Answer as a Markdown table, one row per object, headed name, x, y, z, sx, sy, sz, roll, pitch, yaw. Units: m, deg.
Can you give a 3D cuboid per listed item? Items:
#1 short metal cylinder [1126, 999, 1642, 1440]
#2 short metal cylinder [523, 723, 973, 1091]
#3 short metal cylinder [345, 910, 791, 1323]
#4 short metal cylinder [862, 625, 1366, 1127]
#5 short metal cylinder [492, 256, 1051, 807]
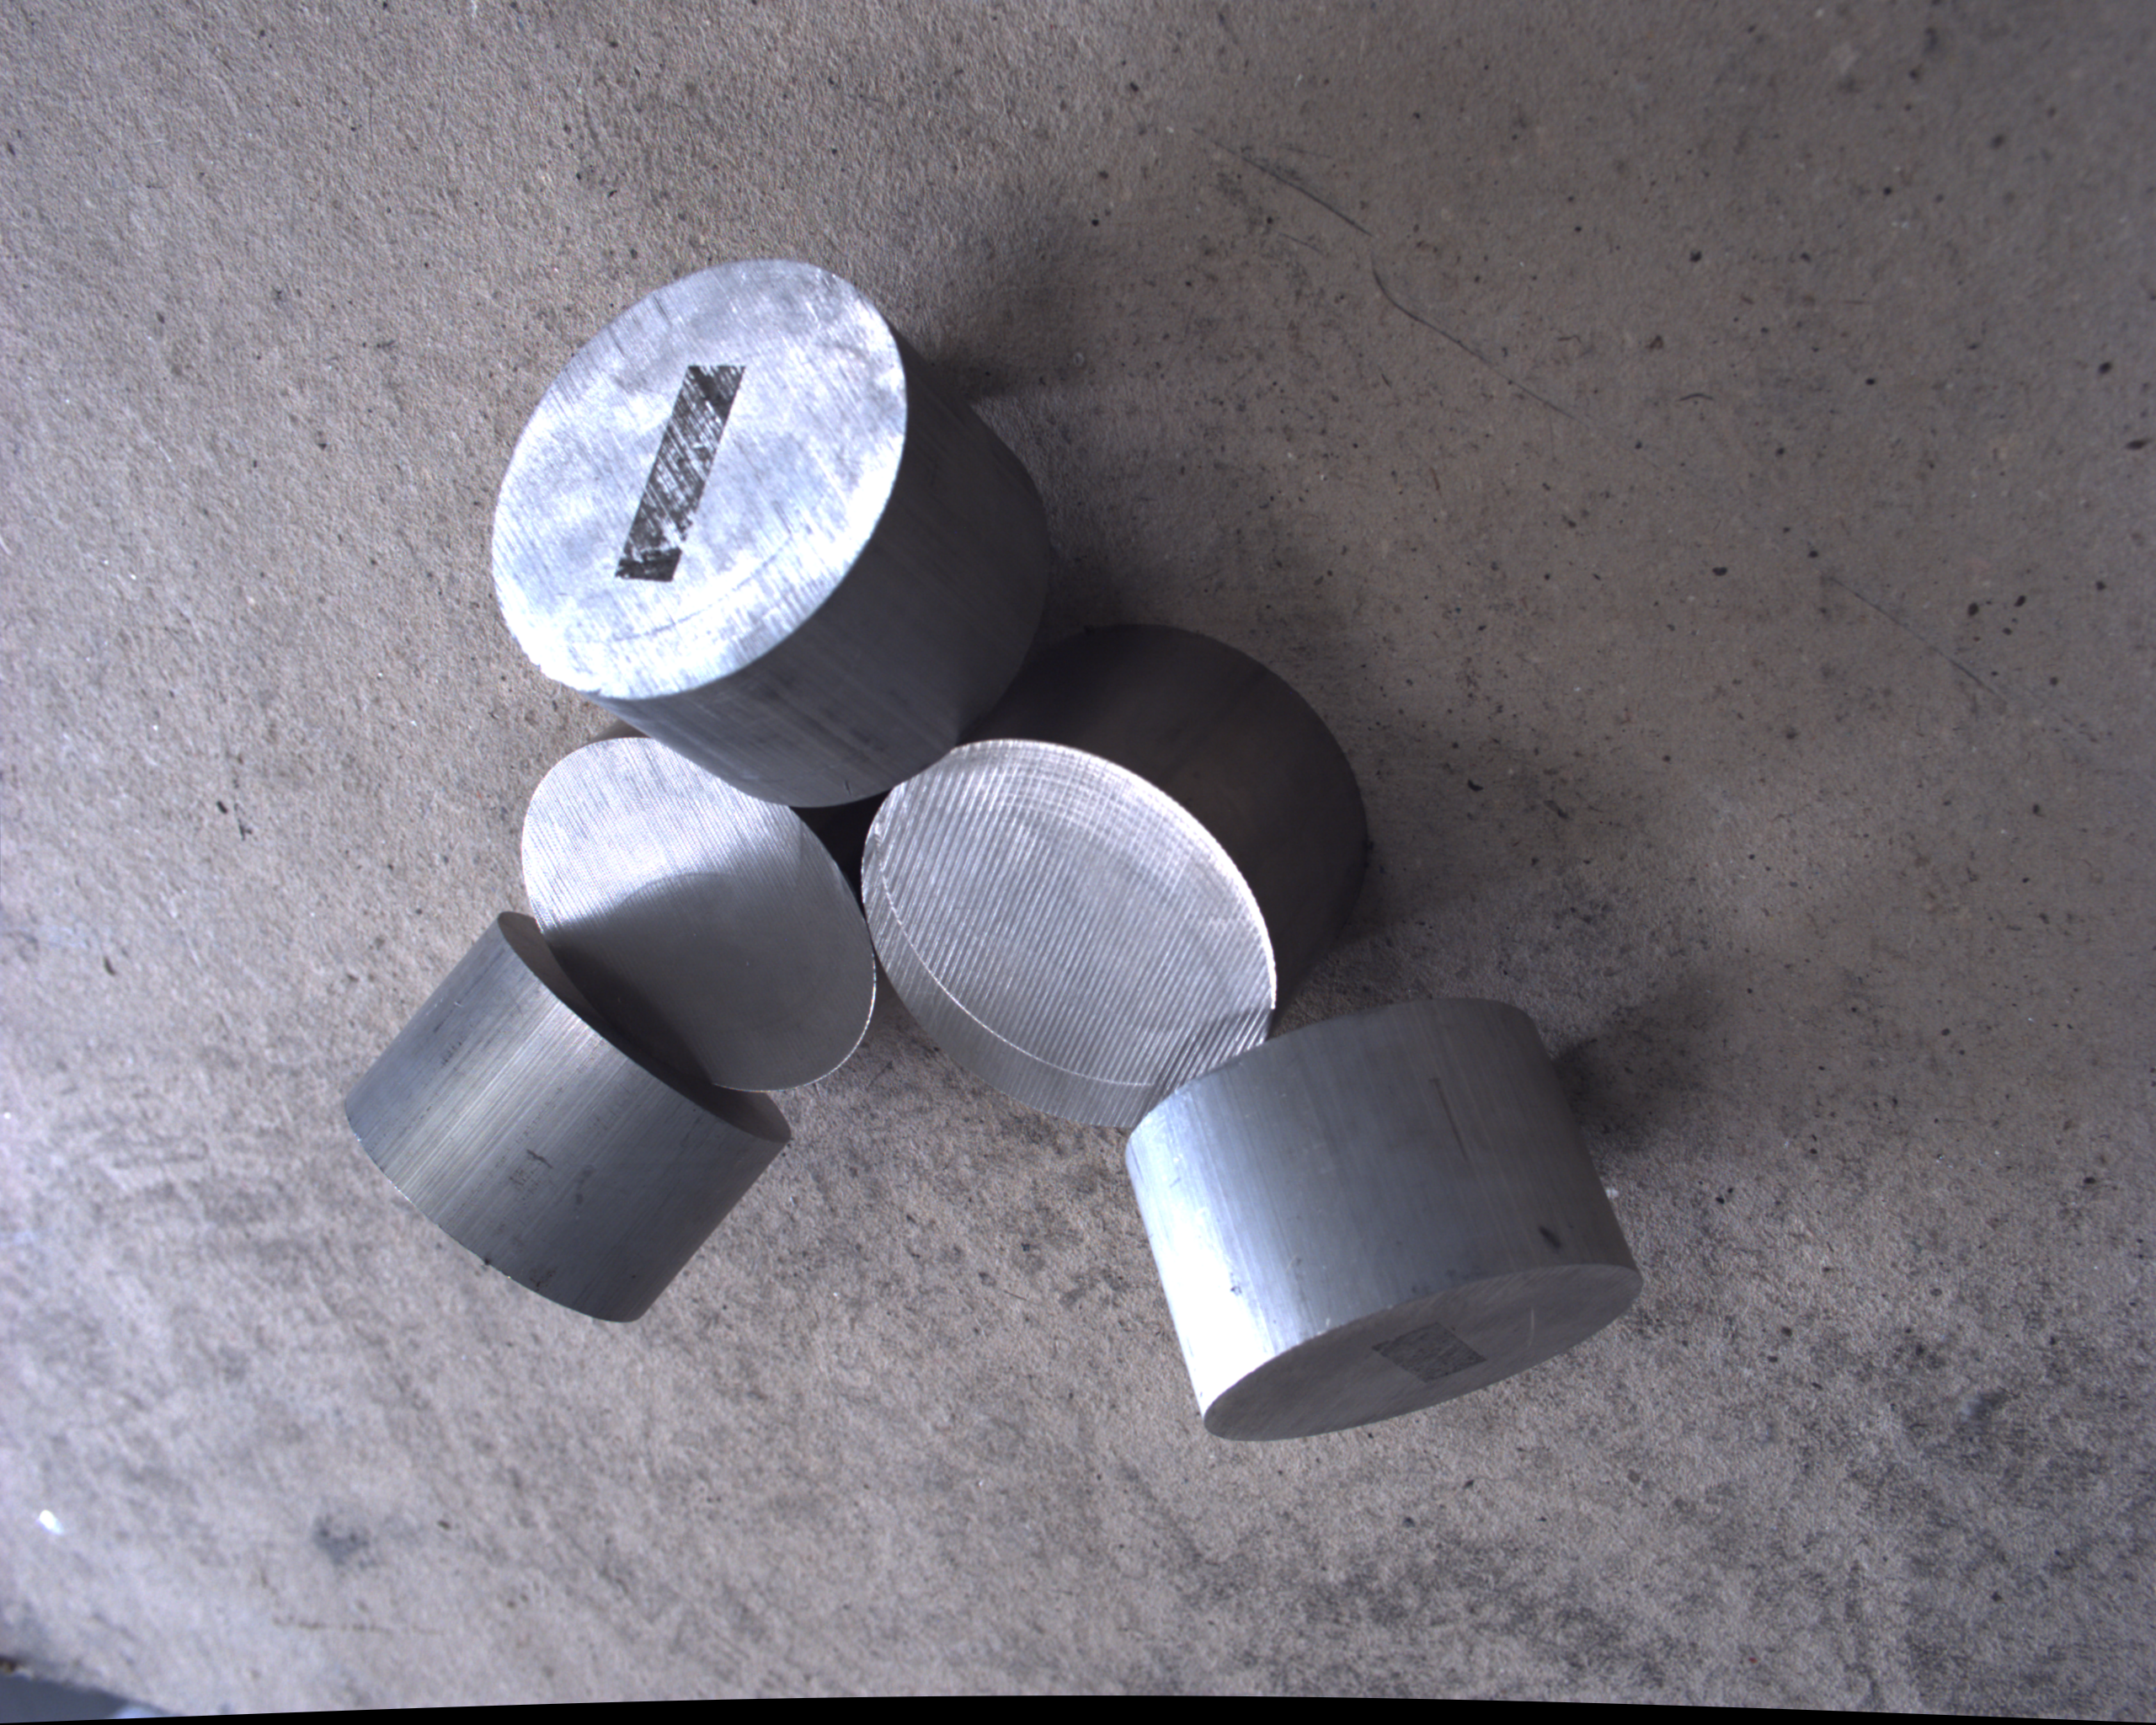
| name | x | y | z | sx | sy | sz | roll | pitch | yaw |
| --- | --- | --- | --- | --- | --- | --- | --- | --- | --- |
| short metal cylinder | 0.054 | 0.066 | 0.377 | 0.080 | 0.081 | 0.050 | -43 | 52 | 39 |
| short metal cylinder | -0.064 | 0.000 | 0.425 | 0.080 | 0.050 | 0.079 | 13 | 124 | 21 |
| short metal cylinder | -0.110 | 0.055 | 0.457 | 0.080 | 0.080 | 0.050 | 39 | 89 | 1 |
| short metal cylinder | 0.007 | 0.002 | 0.389 | 0.080 | 0.050 | 0.079 | 13 | 124 | 21 |
| short metal cylinder | -0.052 | -0.055 | 0.358 | 0.080 | 0.080 | 0.050 | 2 | 162 | 27 |
